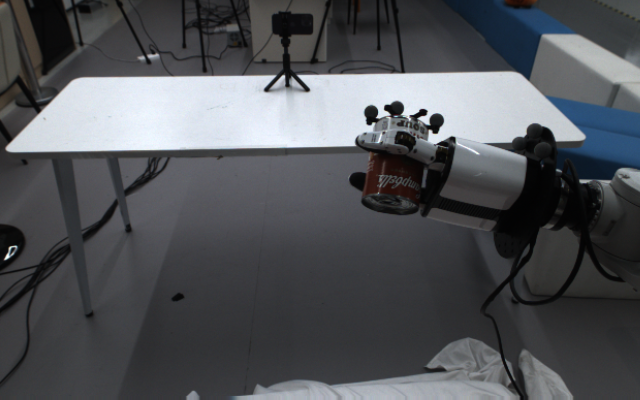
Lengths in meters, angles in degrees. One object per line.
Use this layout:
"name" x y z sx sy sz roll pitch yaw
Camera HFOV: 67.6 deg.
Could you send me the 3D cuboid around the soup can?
"soup can" 0.091 -0.041 0.572 0.067 0.067 0.101 8 72 9
